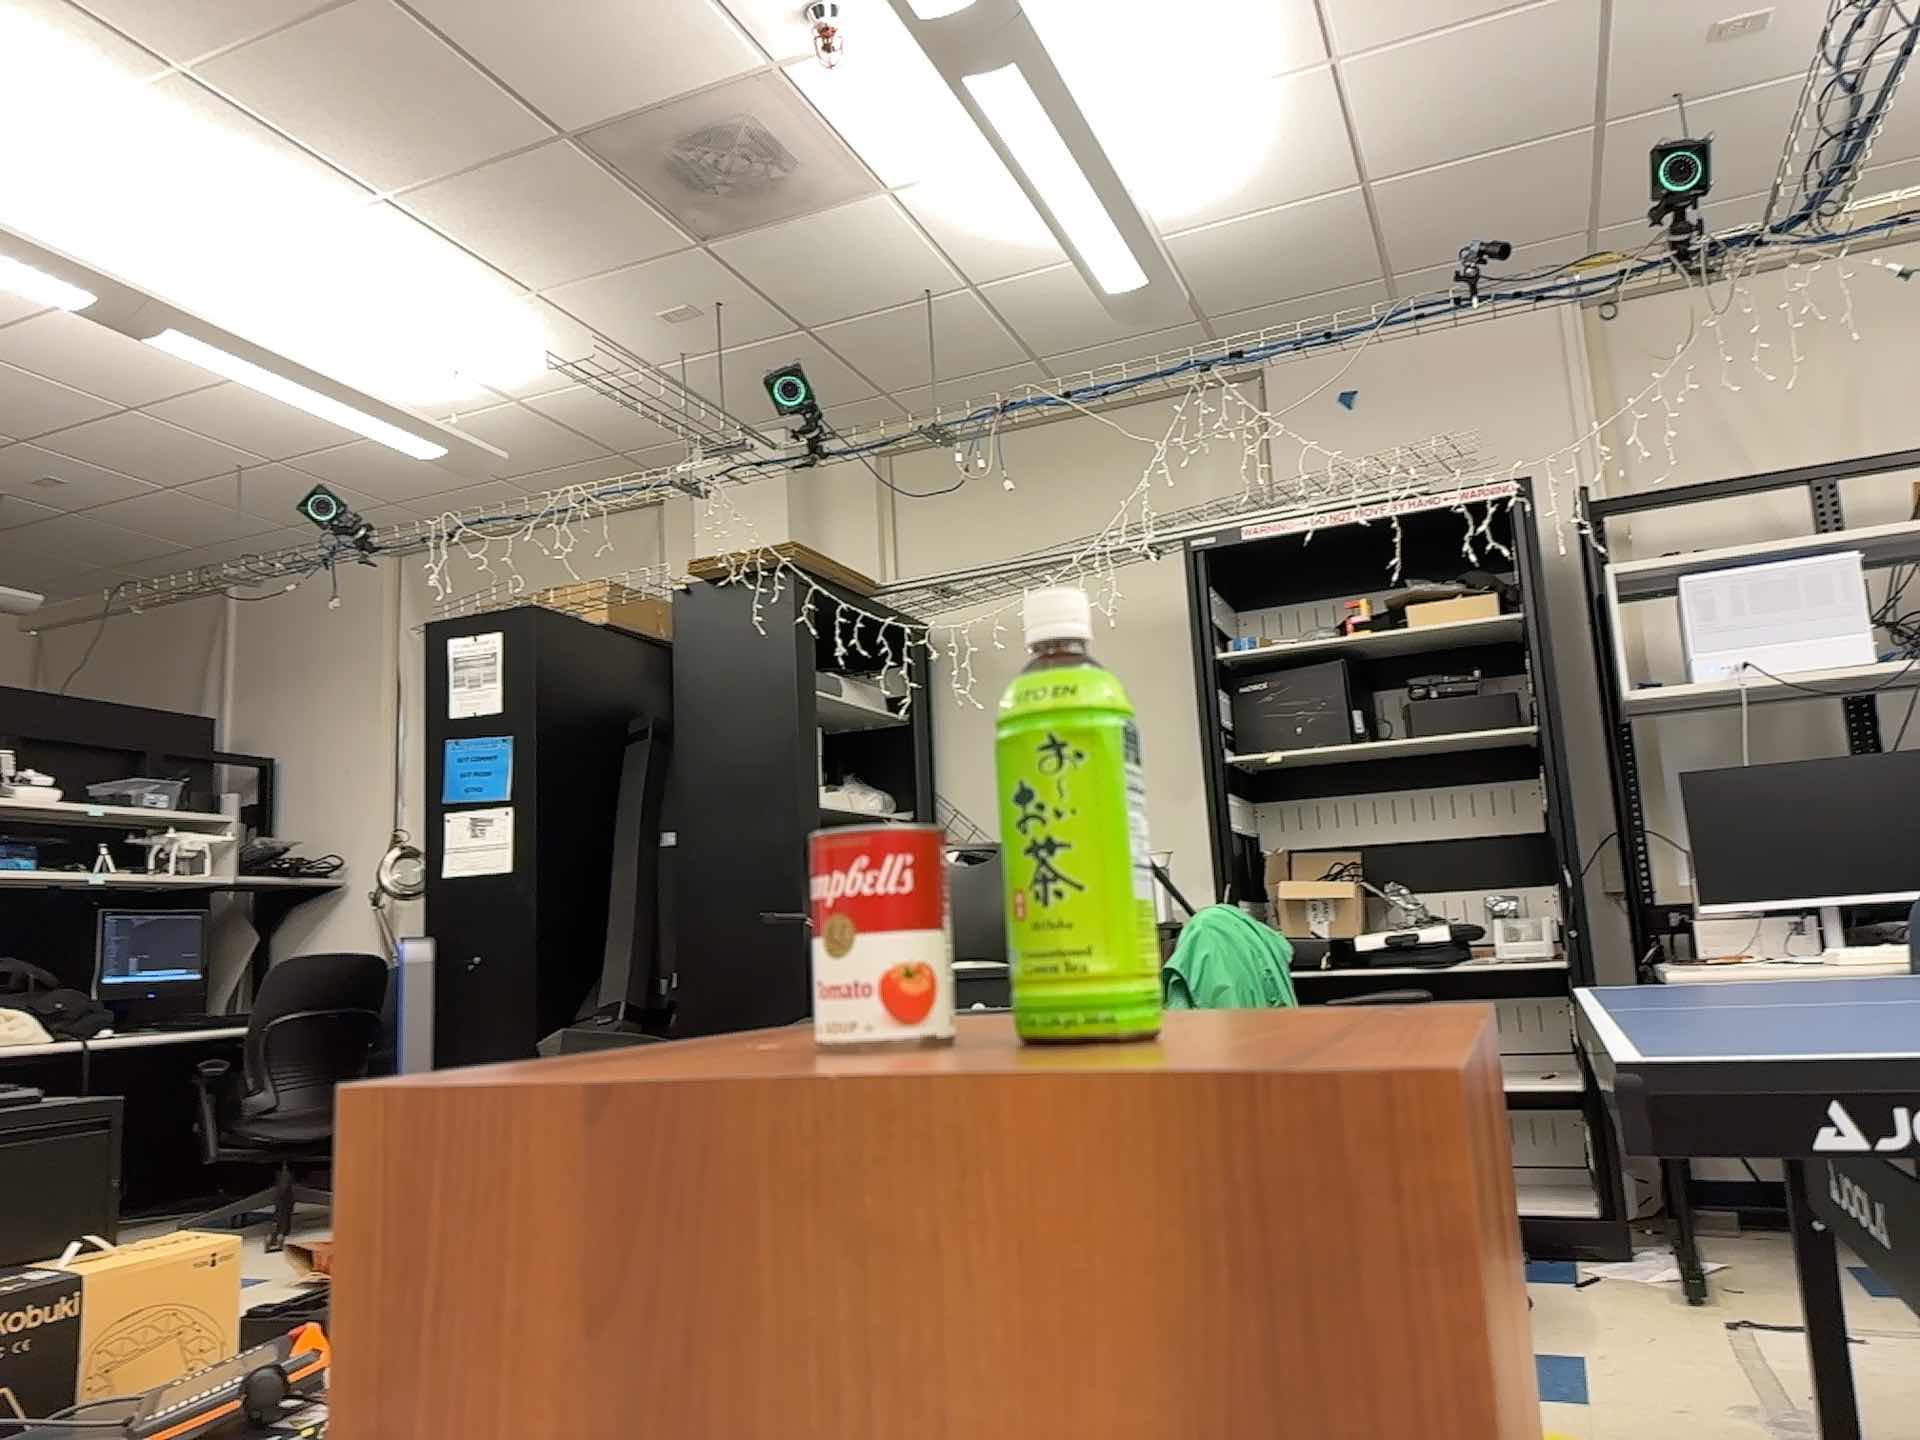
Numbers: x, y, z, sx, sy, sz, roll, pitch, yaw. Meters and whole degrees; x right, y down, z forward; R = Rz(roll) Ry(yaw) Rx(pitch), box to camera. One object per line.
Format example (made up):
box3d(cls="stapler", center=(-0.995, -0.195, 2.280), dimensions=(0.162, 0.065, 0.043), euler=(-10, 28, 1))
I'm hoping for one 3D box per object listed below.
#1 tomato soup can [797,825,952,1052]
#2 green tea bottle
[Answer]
box3d(cls="tomato soup can", center=(-0.041, 0.104, 0.638), dimensions=(0.067, 0.102, 0.067), euler=(-4, -11, -1))
box3d(cls="green tea bottle", center=(0.051, 0.044, 0.623), dimensions=(0.073, 0.212, 0.073), euler=(-6, -11, -1))
